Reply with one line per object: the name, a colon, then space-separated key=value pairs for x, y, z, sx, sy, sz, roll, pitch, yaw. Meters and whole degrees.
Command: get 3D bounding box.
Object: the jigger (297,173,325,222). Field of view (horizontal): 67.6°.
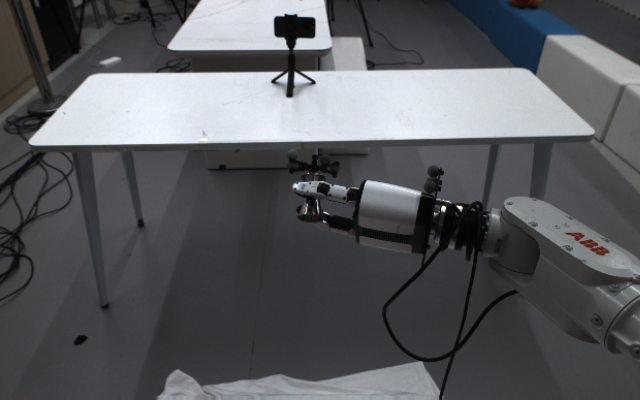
jigger: x=-0.014 y=-0.006 z=0.748 sx=0.043 sy=0.043 sz=0.071 roll=3 pitch=72 yaw=1
